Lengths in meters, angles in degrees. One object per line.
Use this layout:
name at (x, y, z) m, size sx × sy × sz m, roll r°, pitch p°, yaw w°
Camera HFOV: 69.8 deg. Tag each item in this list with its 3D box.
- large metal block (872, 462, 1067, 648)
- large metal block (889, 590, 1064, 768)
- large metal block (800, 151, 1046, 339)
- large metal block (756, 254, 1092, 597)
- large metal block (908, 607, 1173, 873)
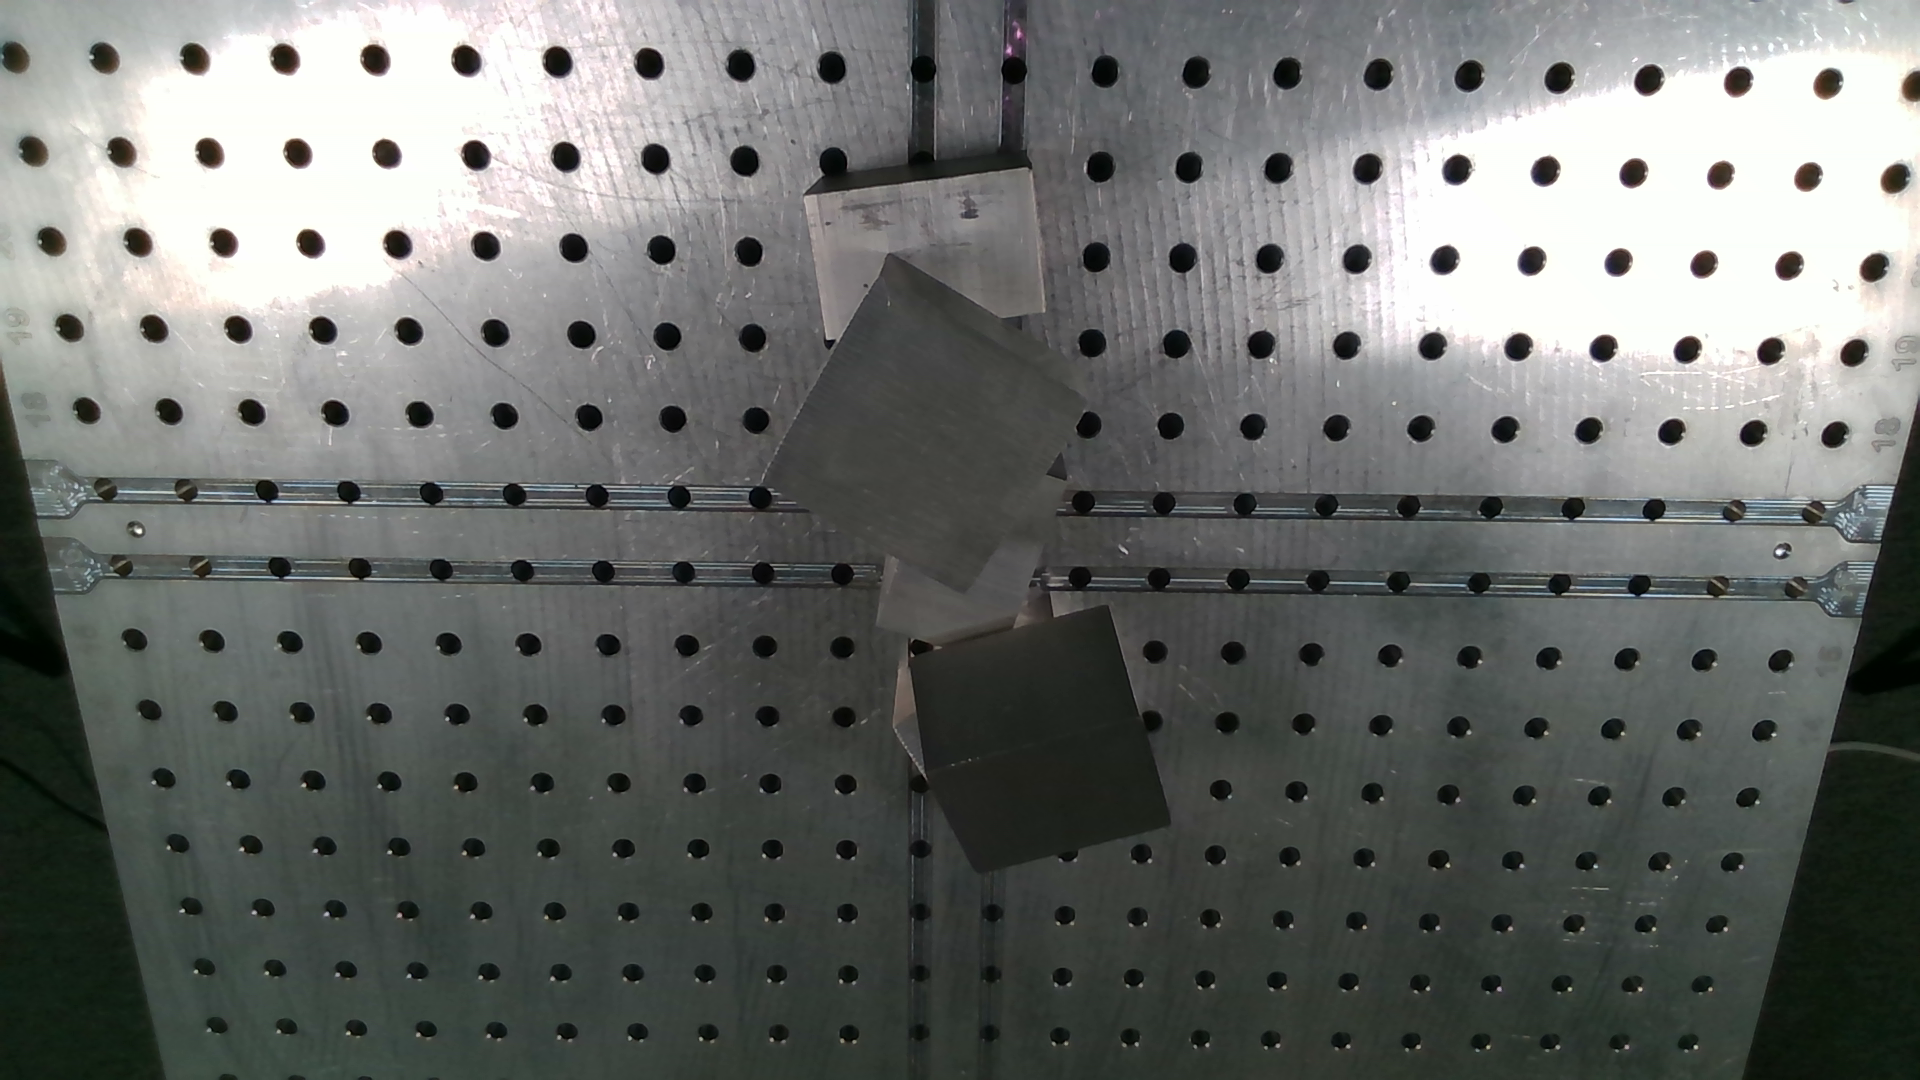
large metal block at (0.003, -0.007, 0.554) m, size 0.050 × 0.080 × 0.080 m, roll 18°, pitch 109°, yaw -6°
large metal block at (0.025, 0.082, 0.604) m, size 0.080 × 0.050 × 0.080 m, roll -29°, pitch 108°, yaw 10°
large metal block at (-0.012, -0.113, 0.516) m, size 0.080 × 0.080 × 0.050 m, roll -6°, pitch 110°, yaw 2°
large metal block at (-0.012, -0.041, 0.472) m, size 0.080 × 0.050 × 0.080 m, roll 30°, pitch 107°, yaw -10°
large metal block at (0.032, 0.079, 0.530) m, size 0.080 × 0.050 × 0.080 m, roll -15°, pitch 138°, yaw 6°
